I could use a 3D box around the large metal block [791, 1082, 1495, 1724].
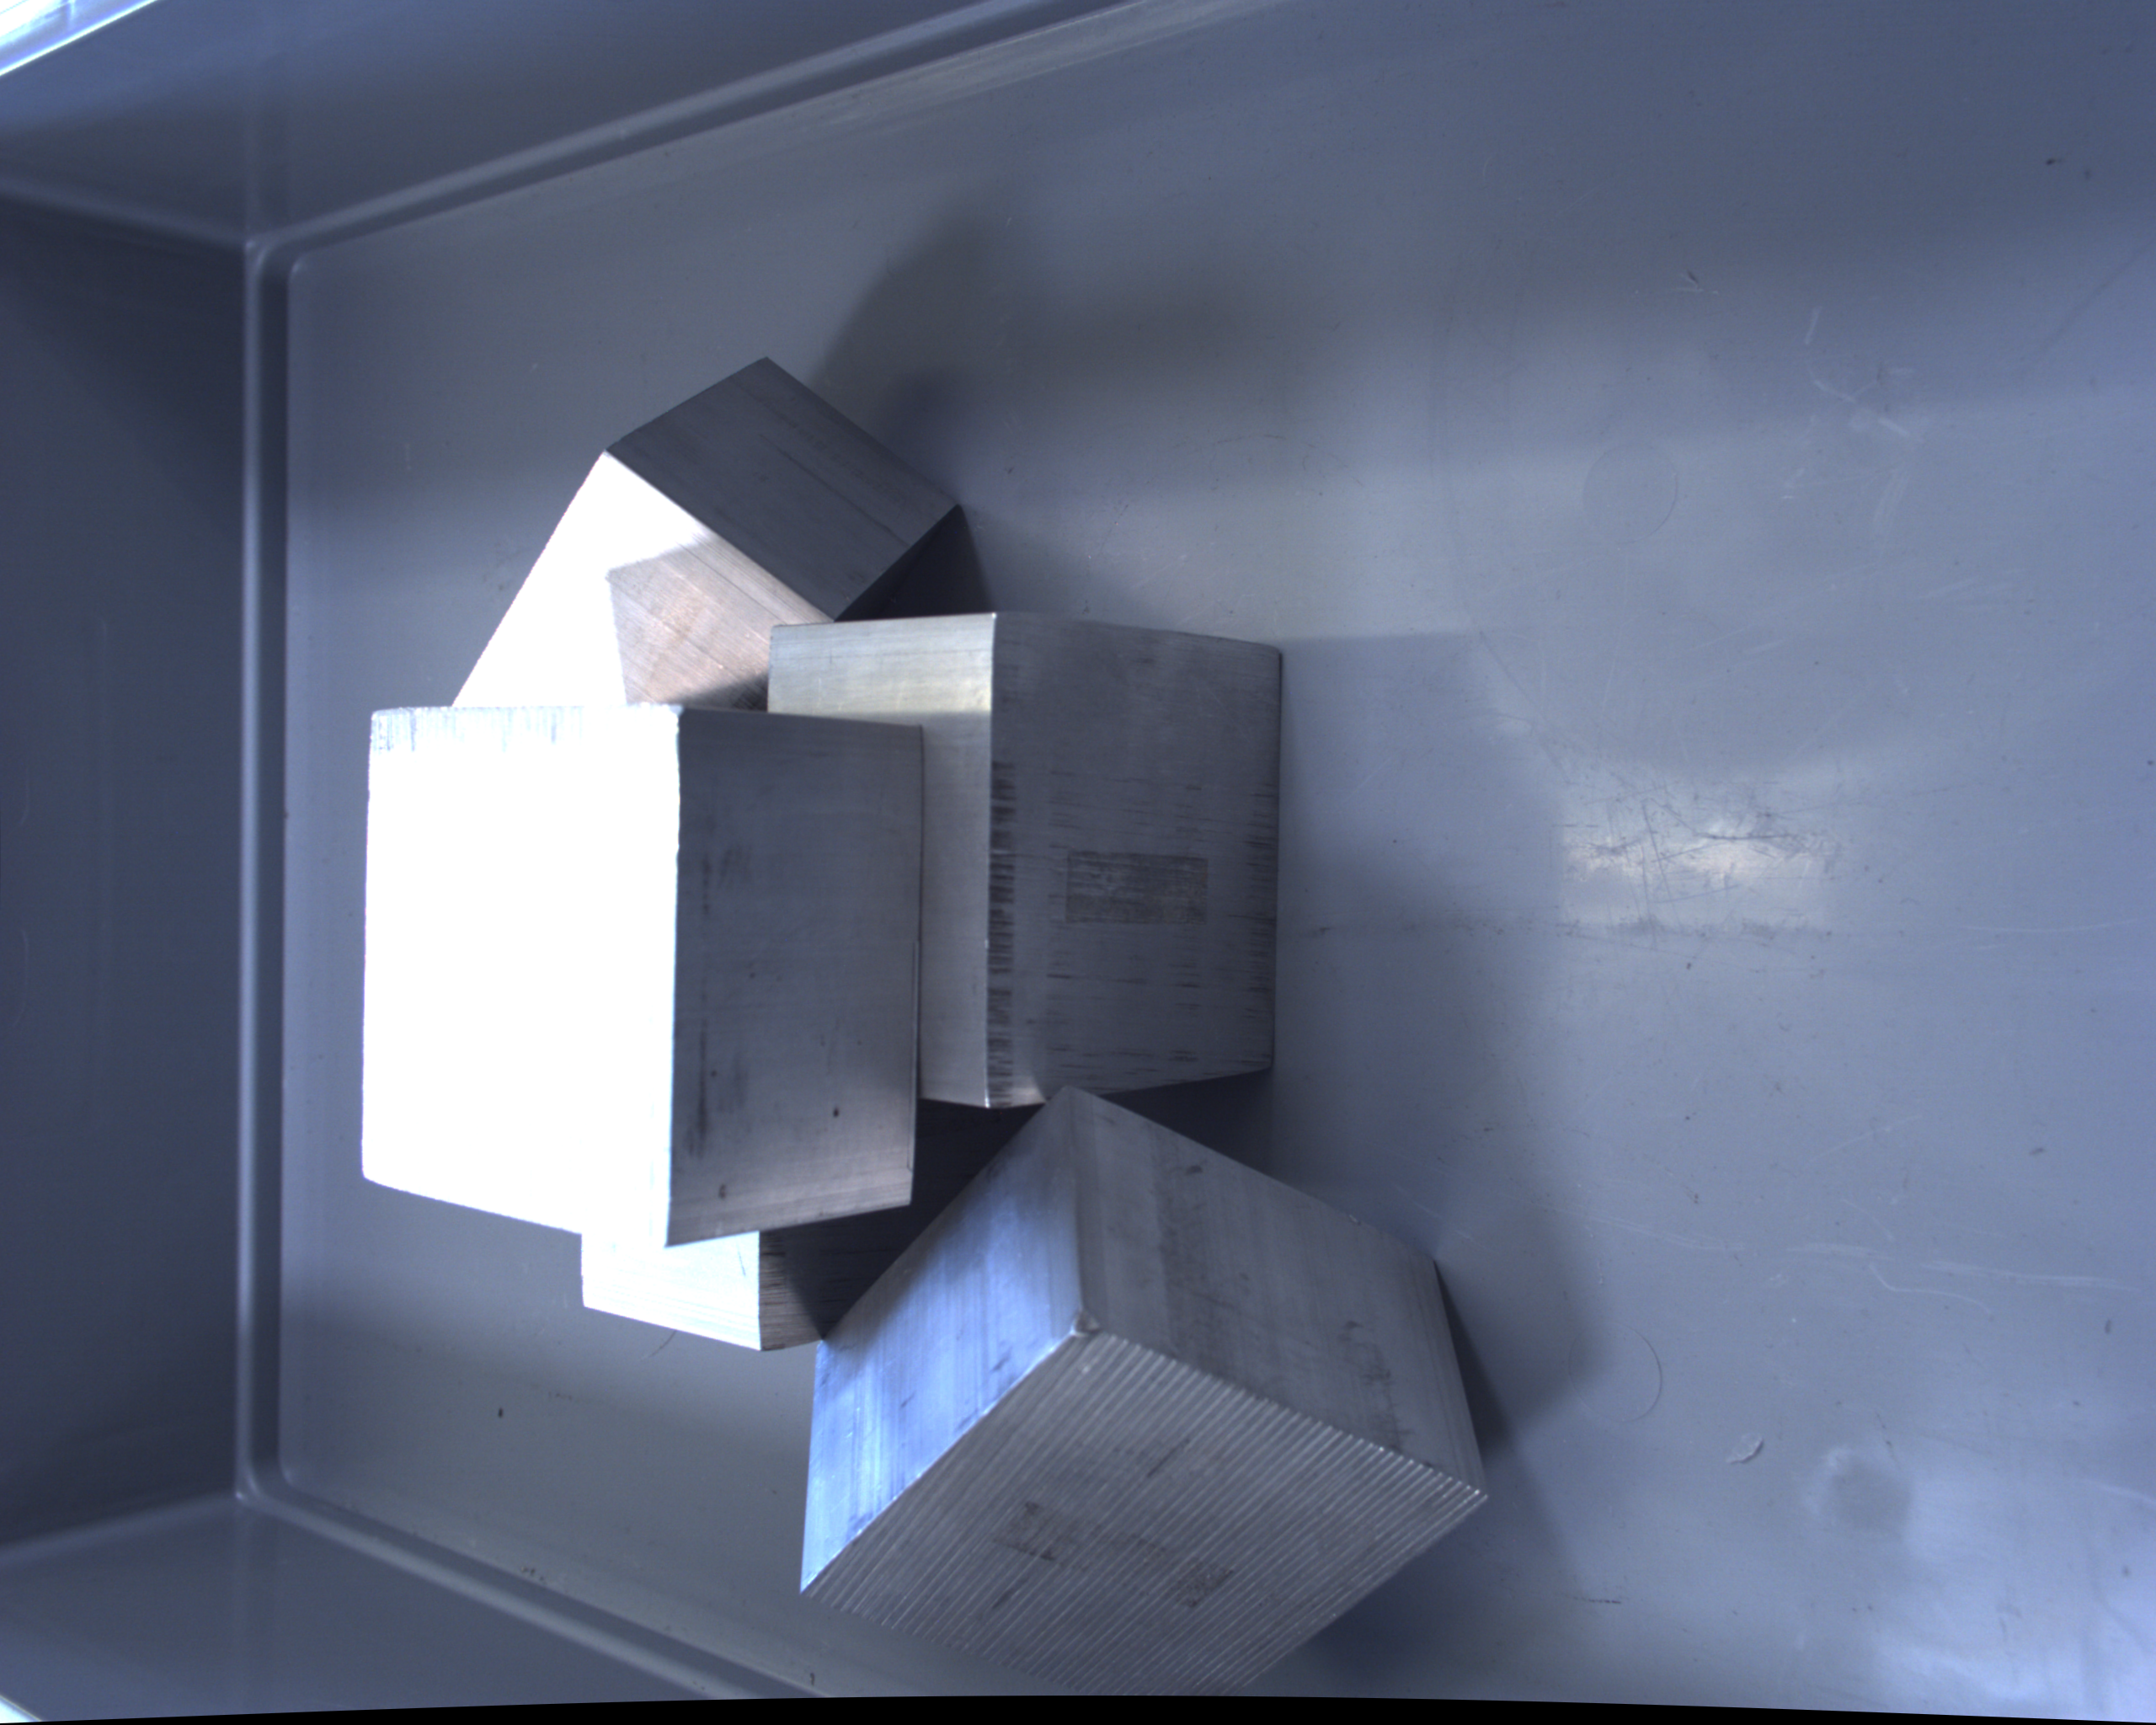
[{"bbox_3d":[0.009,0.094,0.352,0.080,0.080,0.050,-49,26,29],"label":"large metal block"}]

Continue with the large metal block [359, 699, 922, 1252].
[{"bbox_3d":[-0.073,0.015,0.344,0.080,0.050,0.079,2,92,40],"label":"large metal block"}]

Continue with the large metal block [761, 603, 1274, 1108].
[{"bbox_3d":[-0.009,-0.002,0.375,0.050,0.081,0.080,1,91,40],"label":"large metal block"}]

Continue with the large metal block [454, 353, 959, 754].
[{"bbox_3d":[-0.077,-0.048,0.423,0.050,0.080,0.080,37,118,-5],"label":"large metal block"}]

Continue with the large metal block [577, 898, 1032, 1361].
[{"bbox_3d":[-0.049,0.047,0.410,0.050,0.081,0.080,1,91,40],"label":"large metal block"}]
